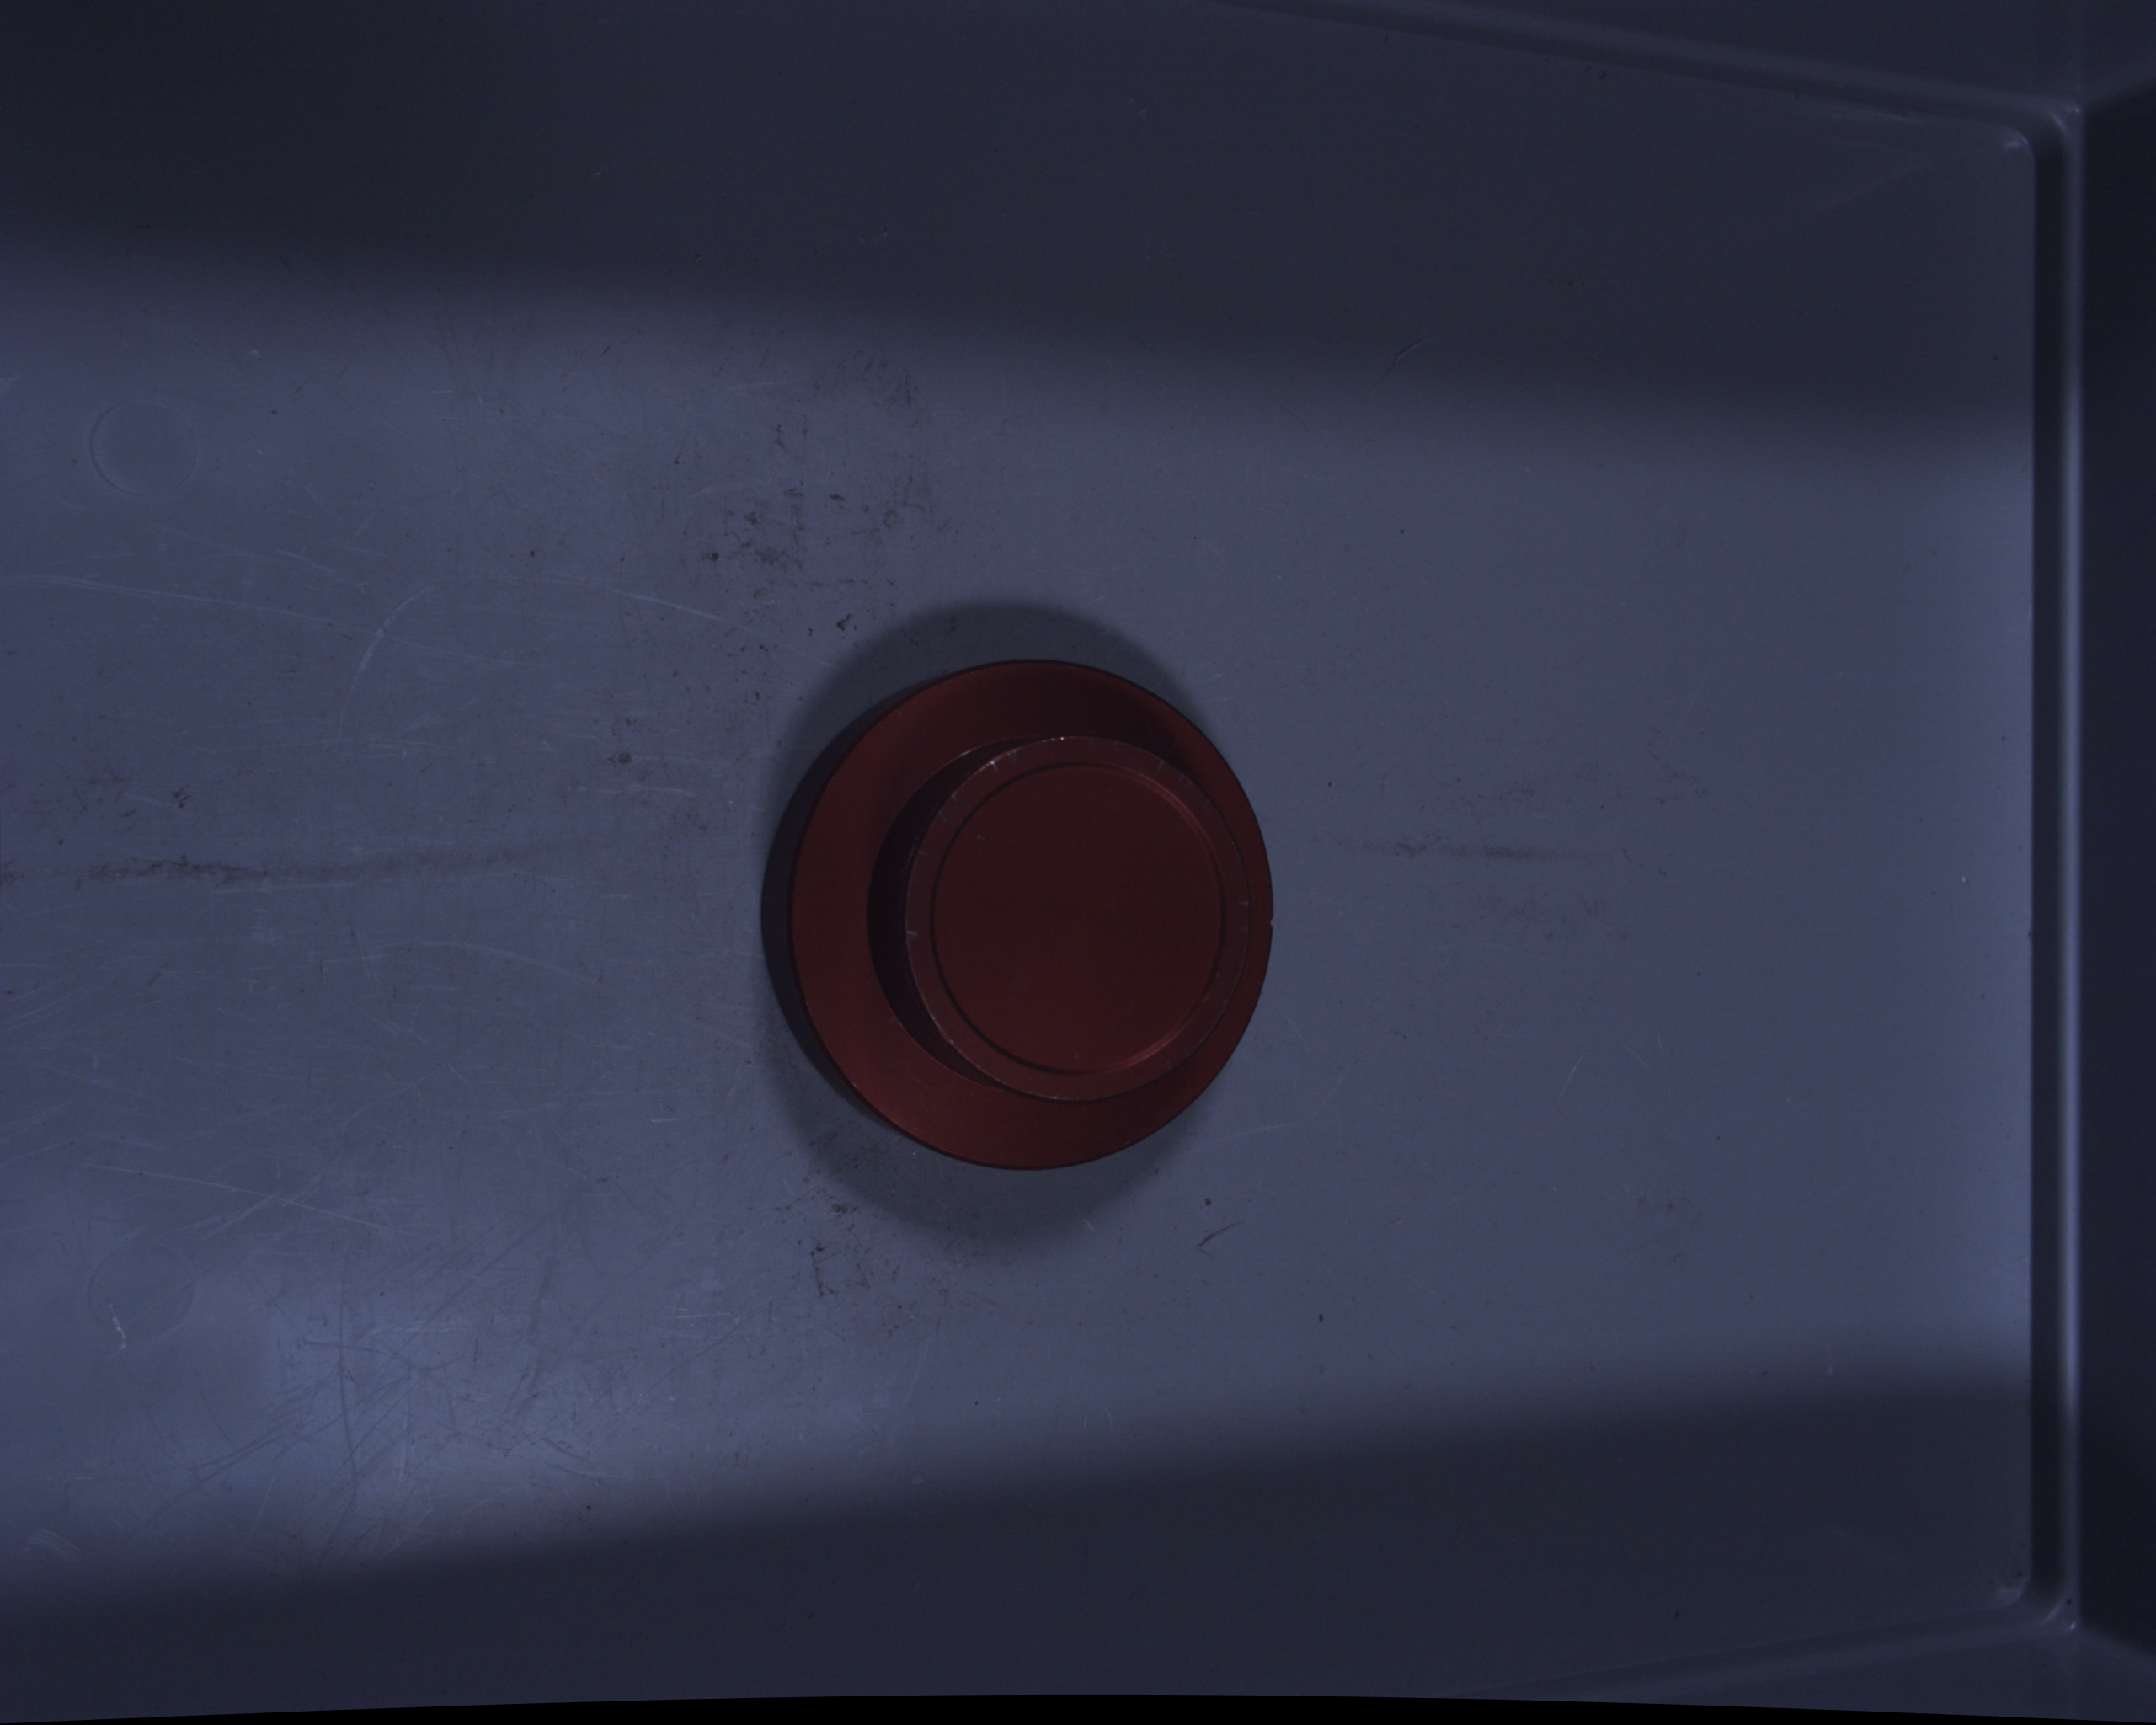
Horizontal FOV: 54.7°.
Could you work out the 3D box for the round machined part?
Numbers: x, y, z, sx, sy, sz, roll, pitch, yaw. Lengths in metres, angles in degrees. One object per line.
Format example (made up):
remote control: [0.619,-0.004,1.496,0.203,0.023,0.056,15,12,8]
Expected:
round machined part: [-0.007,0.010,0.396,0.099,0.042,0.097,0,90,-21]
